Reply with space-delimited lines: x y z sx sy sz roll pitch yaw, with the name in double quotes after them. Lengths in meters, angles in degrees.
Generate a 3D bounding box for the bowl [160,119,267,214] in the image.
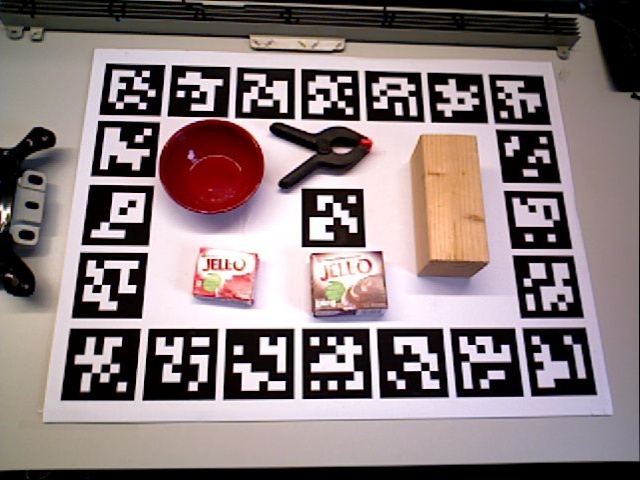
-0.162 -0.104 0.845 0.160 0.056 0.161 1 75 -4 "bowl"

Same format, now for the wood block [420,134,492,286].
0.207 -0.043 0.818 0.089 0.092 0.205 3 72 -4 "wood block"

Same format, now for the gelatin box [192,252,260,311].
-0.137 0.060 0.800 0.089 0.030 0.073 8 74 0 "gelatin box"

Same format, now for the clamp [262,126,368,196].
-0.003 -0.138 0.874 0.163 0.037 0.121 -9 73 -8 "clamp"

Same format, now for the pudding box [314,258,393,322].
0.048 0.074 0.802 0.113 0.039 0.089 0 76 -1 "pudding box"
